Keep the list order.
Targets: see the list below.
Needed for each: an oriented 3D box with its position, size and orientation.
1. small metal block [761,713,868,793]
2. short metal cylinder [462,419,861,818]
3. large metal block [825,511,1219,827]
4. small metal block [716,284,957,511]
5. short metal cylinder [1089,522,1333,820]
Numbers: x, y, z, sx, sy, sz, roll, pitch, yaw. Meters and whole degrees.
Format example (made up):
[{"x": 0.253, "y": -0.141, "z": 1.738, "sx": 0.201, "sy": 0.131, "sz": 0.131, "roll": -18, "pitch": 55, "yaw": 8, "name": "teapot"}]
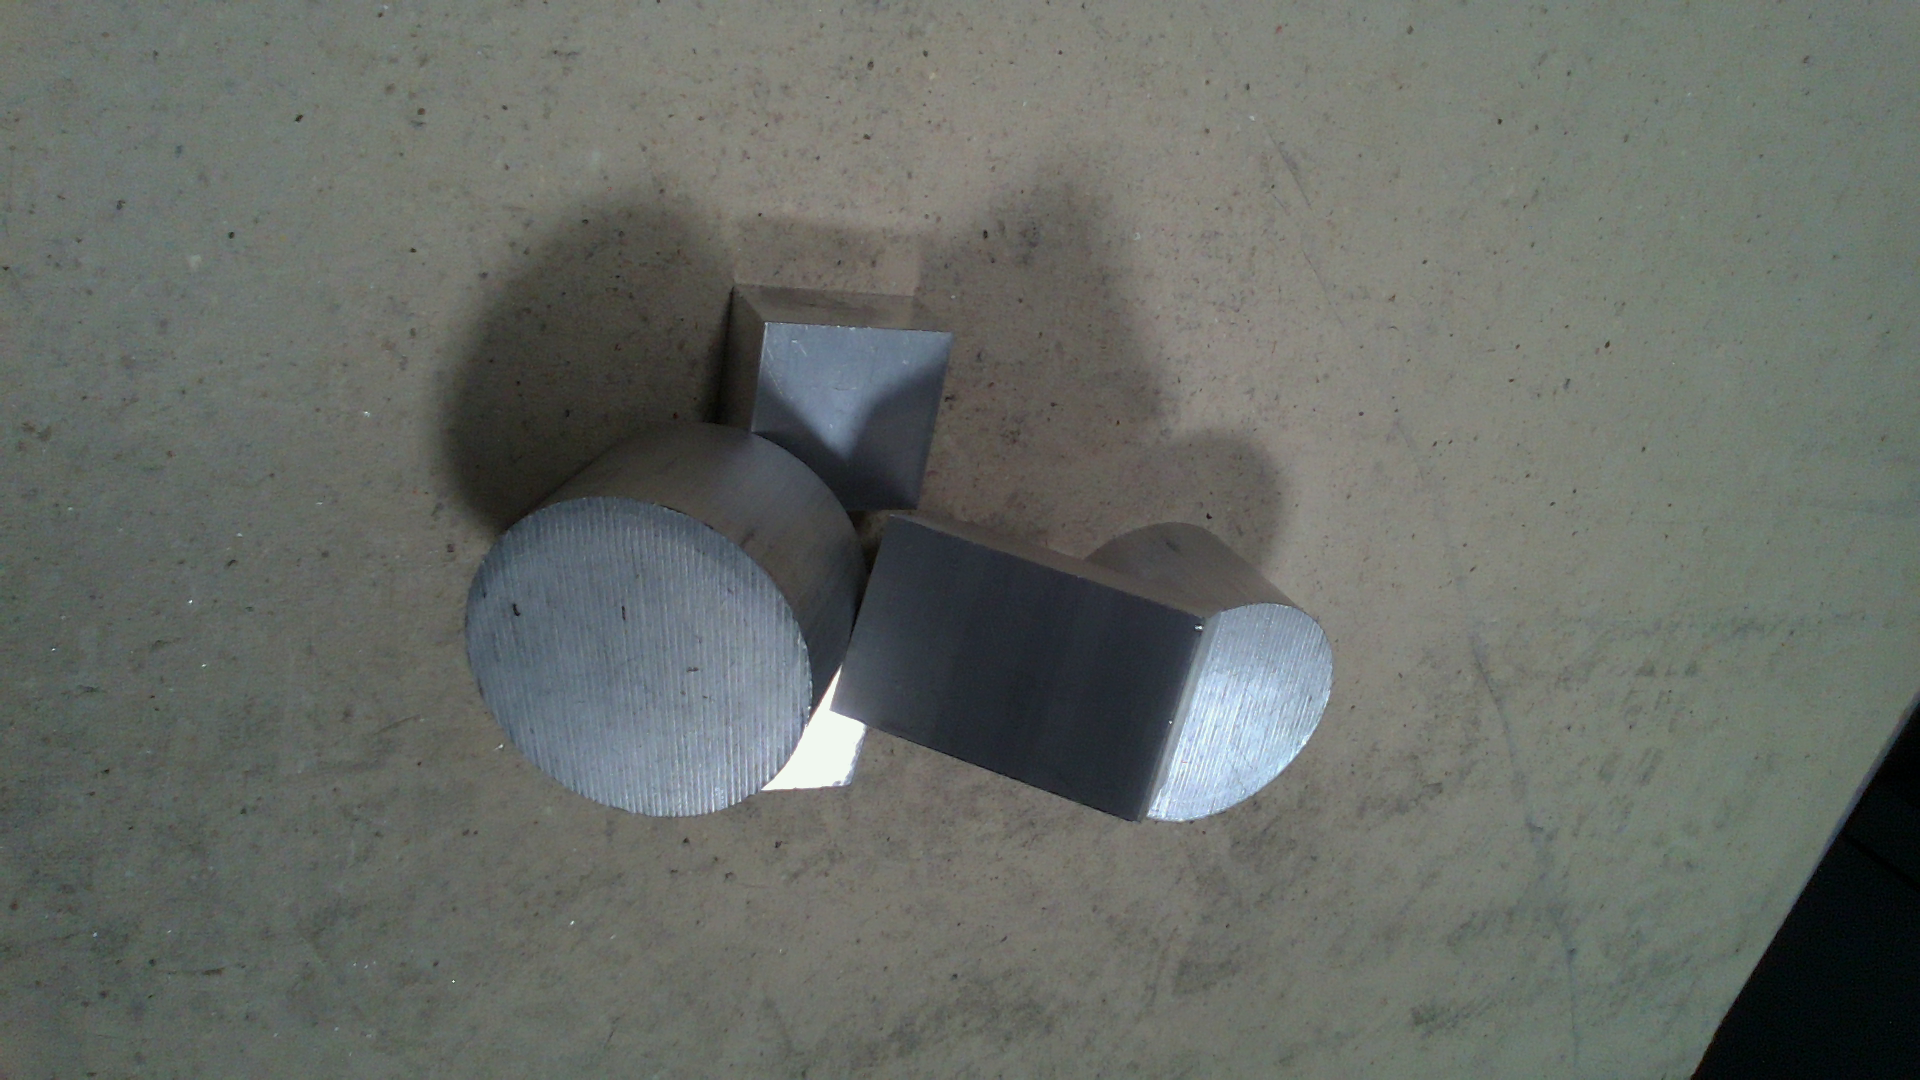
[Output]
[{"x": -0.052, "y": 0.043, "z": 0.388, "sx": 0.050, "sy": 0.025, "sz": 0.050, "roll": 3, "pitch": 117, "yaw": -30, "name": "small metal block"}, {"x": -0.067, "y": 0.017, "z": 0.324, "sx": 0.080, "sy": 0.050, "sz": 0.080, "roll": 4, "pitch": 114, "yaw": 9, "name": "short metal cylinder"}, {"x": 0.020, "y": 0.029, "z": 0.359, "sx": 0.080, "sy": 0.080, "sz": 0.050, "roll": 2, "pitch": 106, "yaw": -77, "name": "large metal block"}, {"x": -0.033, "y": -0.035, "z": 0.349, "sx": 0.050, "sy": 0.025, "sz": 0.050, "roll": -1, "pitch": 119, "yaw": -28, "name": "small metal block"}, {"x": 0.070, "y": 0.041, "z": 0.436, "sx": 0.080, "sy": 0.050, "sz": 0.080, "roll": -14, "pitch": 124, "yaw": -21, "name": "short metal cylinder"}]
